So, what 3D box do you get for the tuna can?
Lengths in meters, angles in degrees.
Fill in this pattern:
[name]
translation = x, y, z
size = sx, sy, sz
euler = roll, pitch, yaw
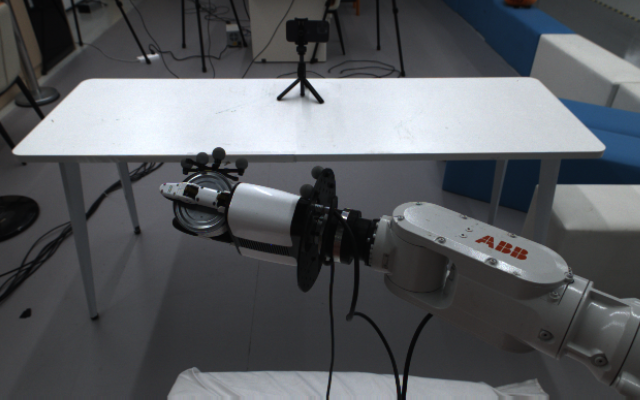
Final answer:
[tuna can]
translation = -0.149, 0.007, 0.650
size = 0.085, 0.034, 0.085
euler = -3, 73, 9
